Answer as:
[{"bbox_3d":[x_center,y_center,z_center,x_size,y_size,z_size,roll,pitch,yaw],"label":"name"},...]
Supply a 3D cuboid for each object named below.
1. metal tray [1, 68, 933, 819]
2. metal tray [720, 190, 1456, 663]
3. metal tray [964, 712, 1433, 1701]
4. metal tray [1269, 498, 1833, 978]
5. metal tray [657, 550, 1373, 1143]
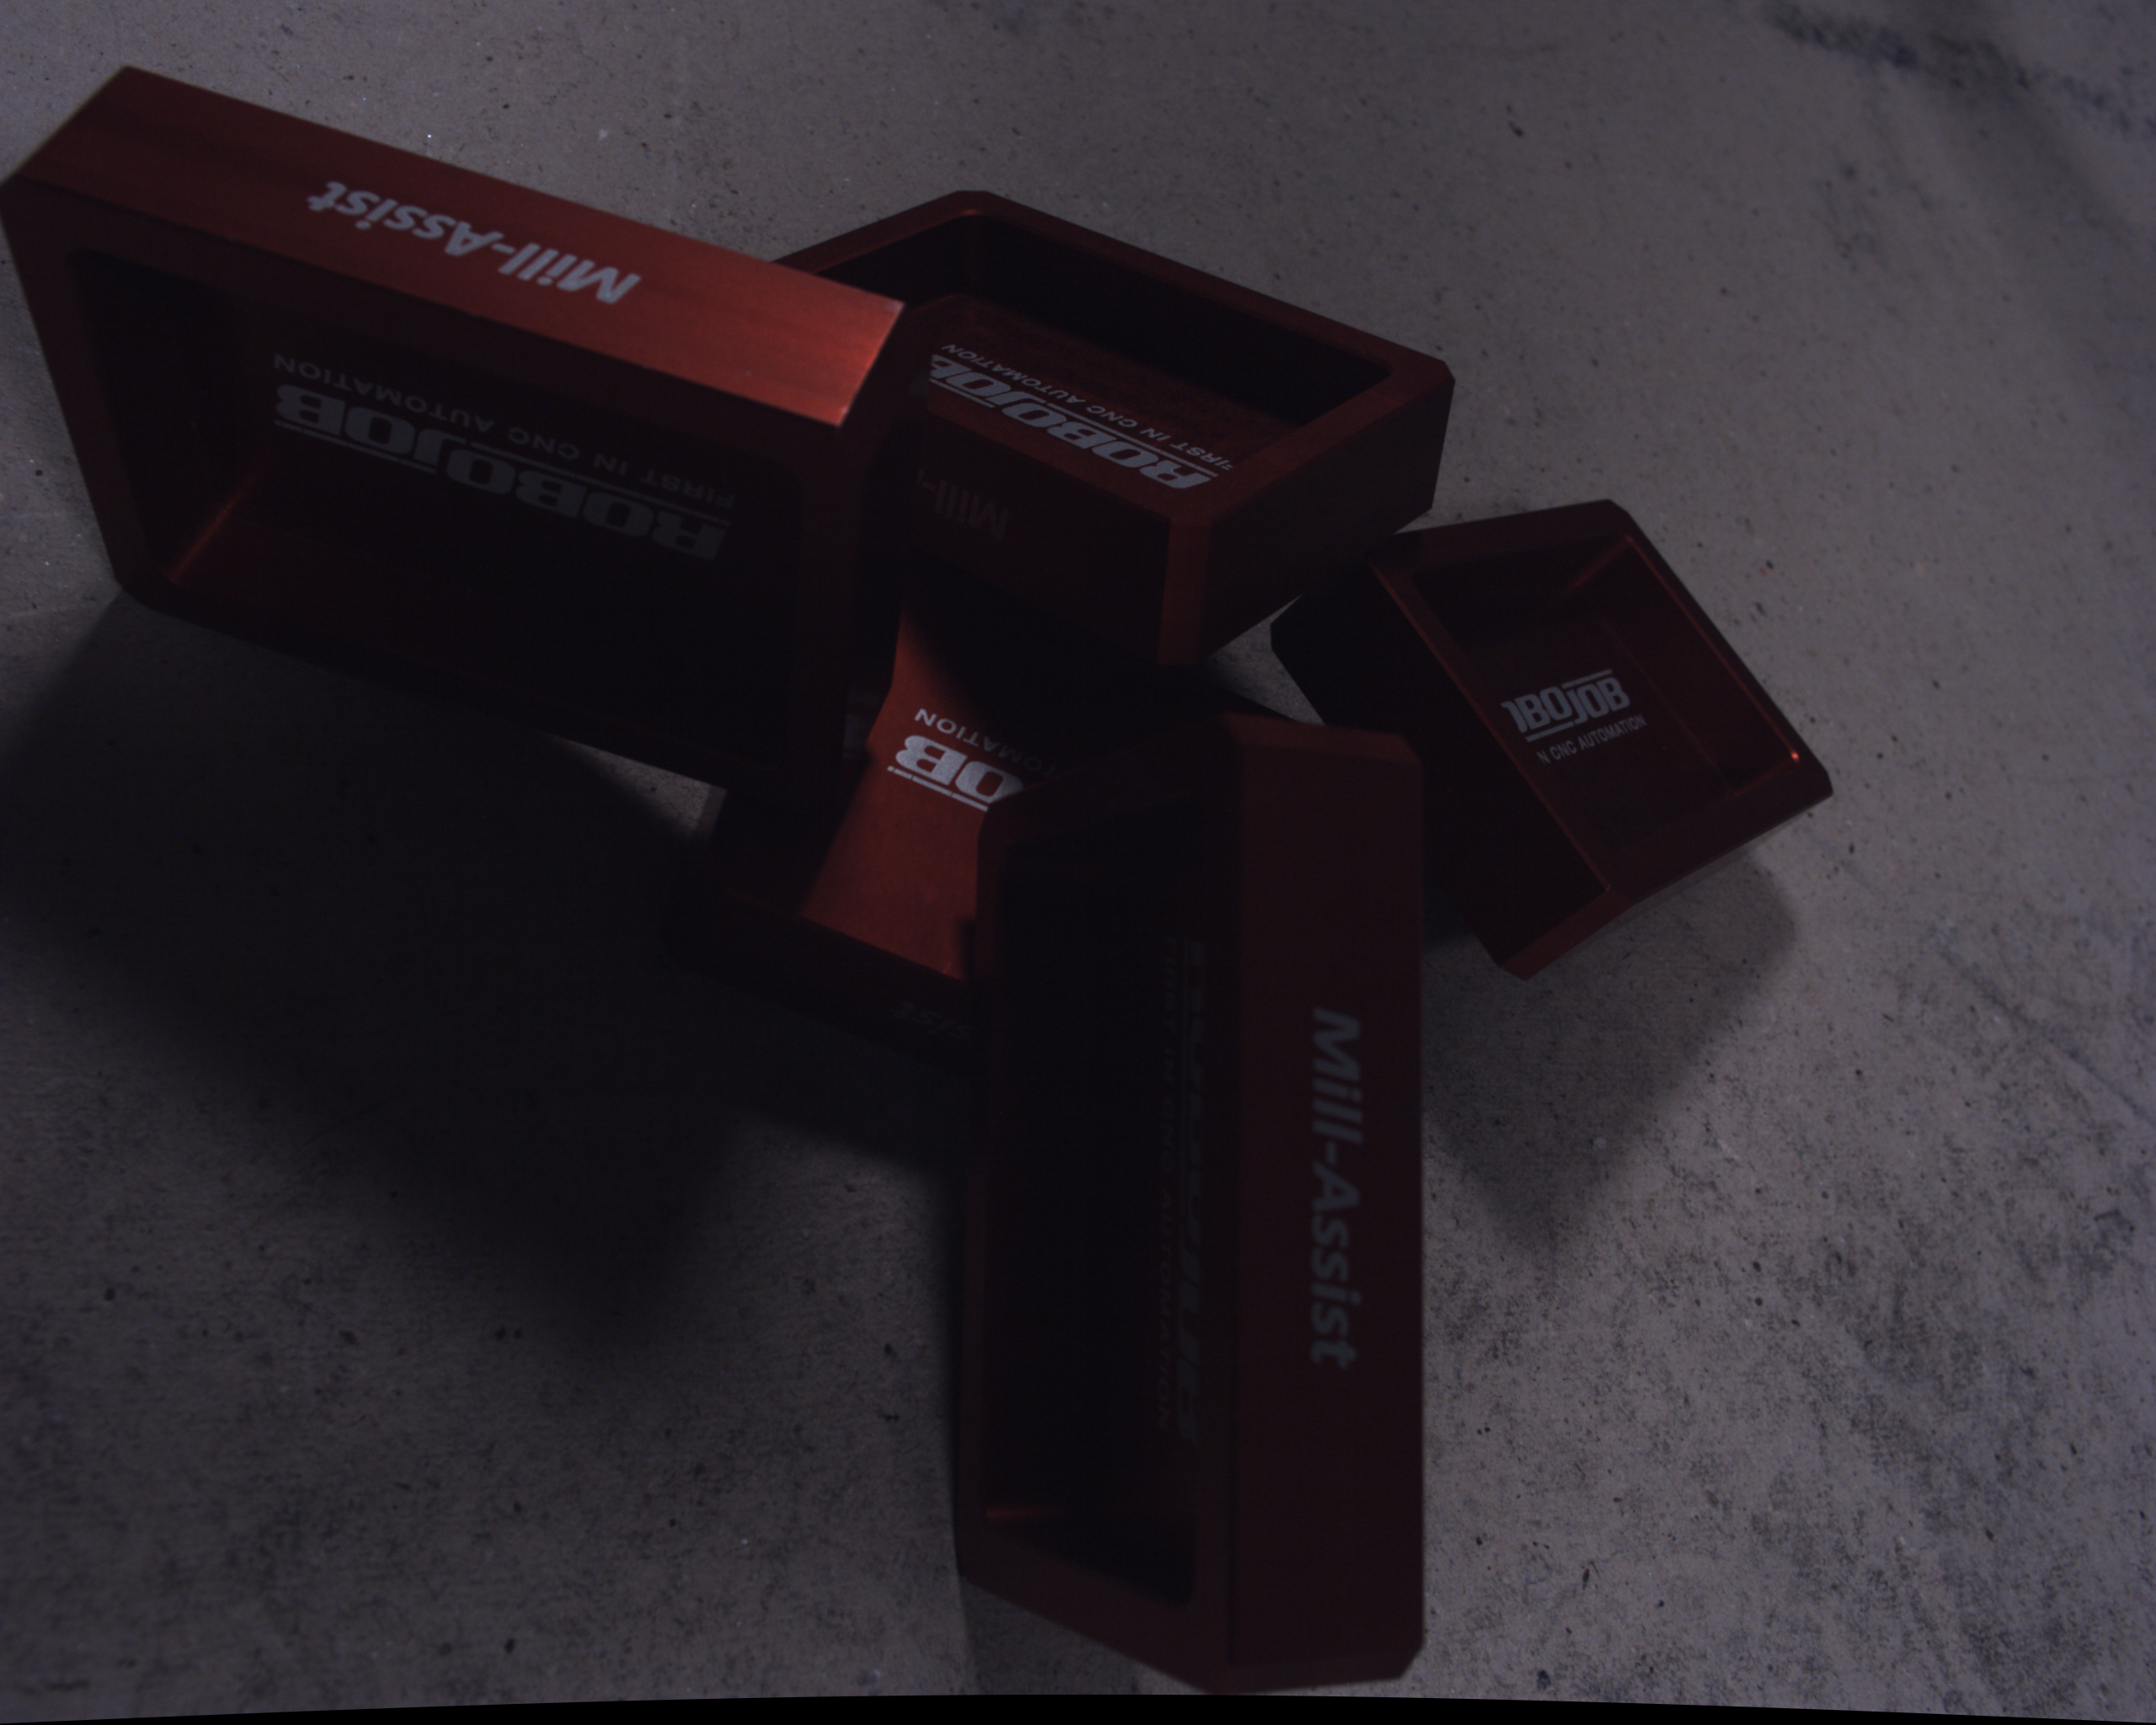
[{"bbox_3d":[-0.094,-0.062,0.332,0.131,0.089,0.030,18,53,2],"label":"metal tray"},{"bbox_3d":[-0.003,-0.093,0.421,0.130,0.030,0.091,29,45,27],"label":"metal tray"},{"bbox_3d":[0.015,0.049,0.318,0.030,0.090,0.129,5,80,-26],"label":"metal tray"},{"bbox_3d":[0.109,-0.033,0.462,0.131,0.030,0.090,-19,71,-51],"label":"metal tray"},{"bbox_3d":[-0.004,-0.001,0.402,0.131,0.030,0.090,23,53,-15],"label":"metal tray"}]
